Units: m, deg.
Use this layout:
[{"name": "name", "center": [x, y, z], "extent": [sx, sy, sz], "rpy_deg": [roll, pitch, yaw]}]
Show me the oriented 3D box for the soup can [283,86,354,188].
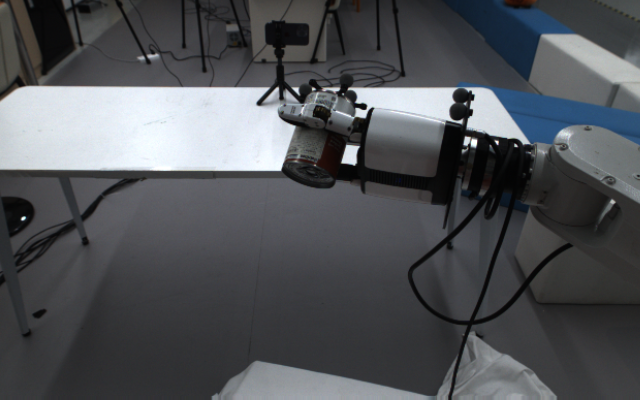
[{"name": "soup can", "center": [0.000, -0.075, 0.591], "extent": [0.067, 0.067, 0.101], "rpy_deg": [12, 70, 14]}]
